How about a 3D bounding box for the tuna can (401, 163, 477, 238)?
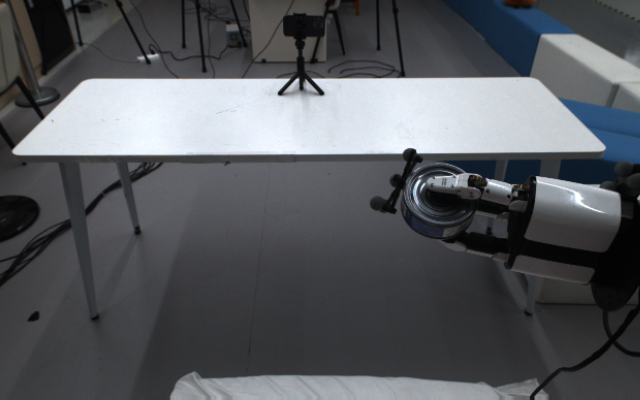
[{"bbox_3d":[0.140,-0.001,0.561,0.085,0.034,0.085,0,61,1],"label":"tuna can"}]
